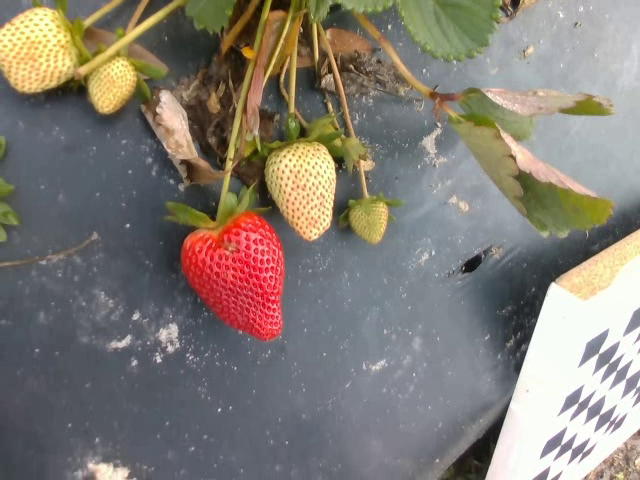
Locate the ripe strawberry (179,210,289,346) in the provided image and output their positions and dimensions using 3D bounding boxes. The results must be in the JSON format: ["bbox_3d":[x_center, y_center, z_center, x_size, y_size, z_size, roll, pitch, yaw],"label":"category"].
[{"bbox_3d":[-0.032,0.015,0.246,0.050,0.059,0.033,-29,-3,-18],"label":"ripe strawberry"}]
